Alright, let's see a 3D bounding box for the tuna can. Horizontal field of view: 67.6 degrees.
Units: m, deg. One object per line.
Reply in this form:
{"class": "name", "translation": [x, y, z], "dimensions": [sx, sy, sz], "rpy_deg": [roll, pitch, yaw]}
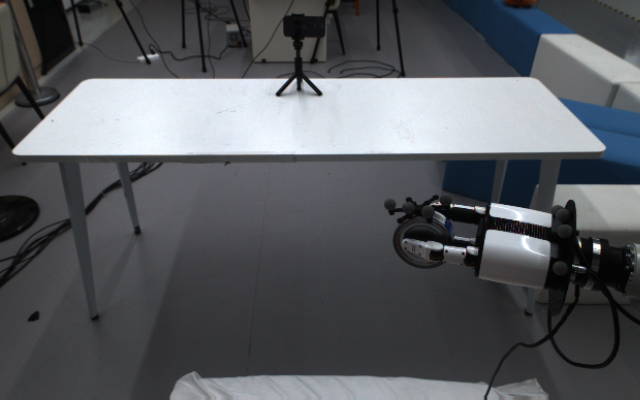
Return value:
{"class": "tuna can", "translation": [0.153, 0.055, 0.707], "dimensions": [0.085, 0.085, 0.034], "rpy_deg": [13, 27, 16]}
